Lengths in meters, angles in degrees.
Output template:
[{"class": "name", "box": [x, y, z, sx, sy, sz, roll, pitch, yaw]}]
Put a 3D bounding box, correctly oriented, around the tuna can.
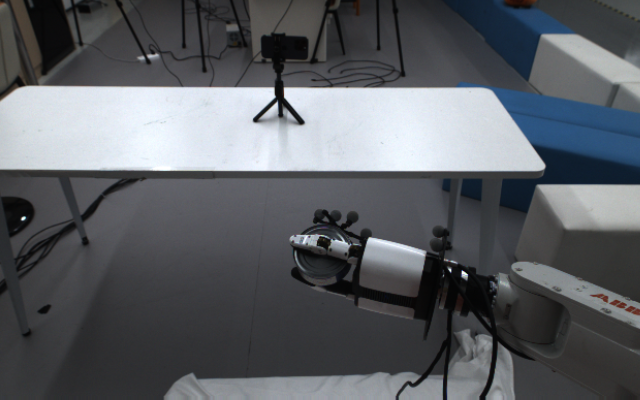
[{"class": "tuna can", "box": [0.006, 0.078, 0.705, 0.085, 0.034, 0.085, -4, 56, 6]}]
